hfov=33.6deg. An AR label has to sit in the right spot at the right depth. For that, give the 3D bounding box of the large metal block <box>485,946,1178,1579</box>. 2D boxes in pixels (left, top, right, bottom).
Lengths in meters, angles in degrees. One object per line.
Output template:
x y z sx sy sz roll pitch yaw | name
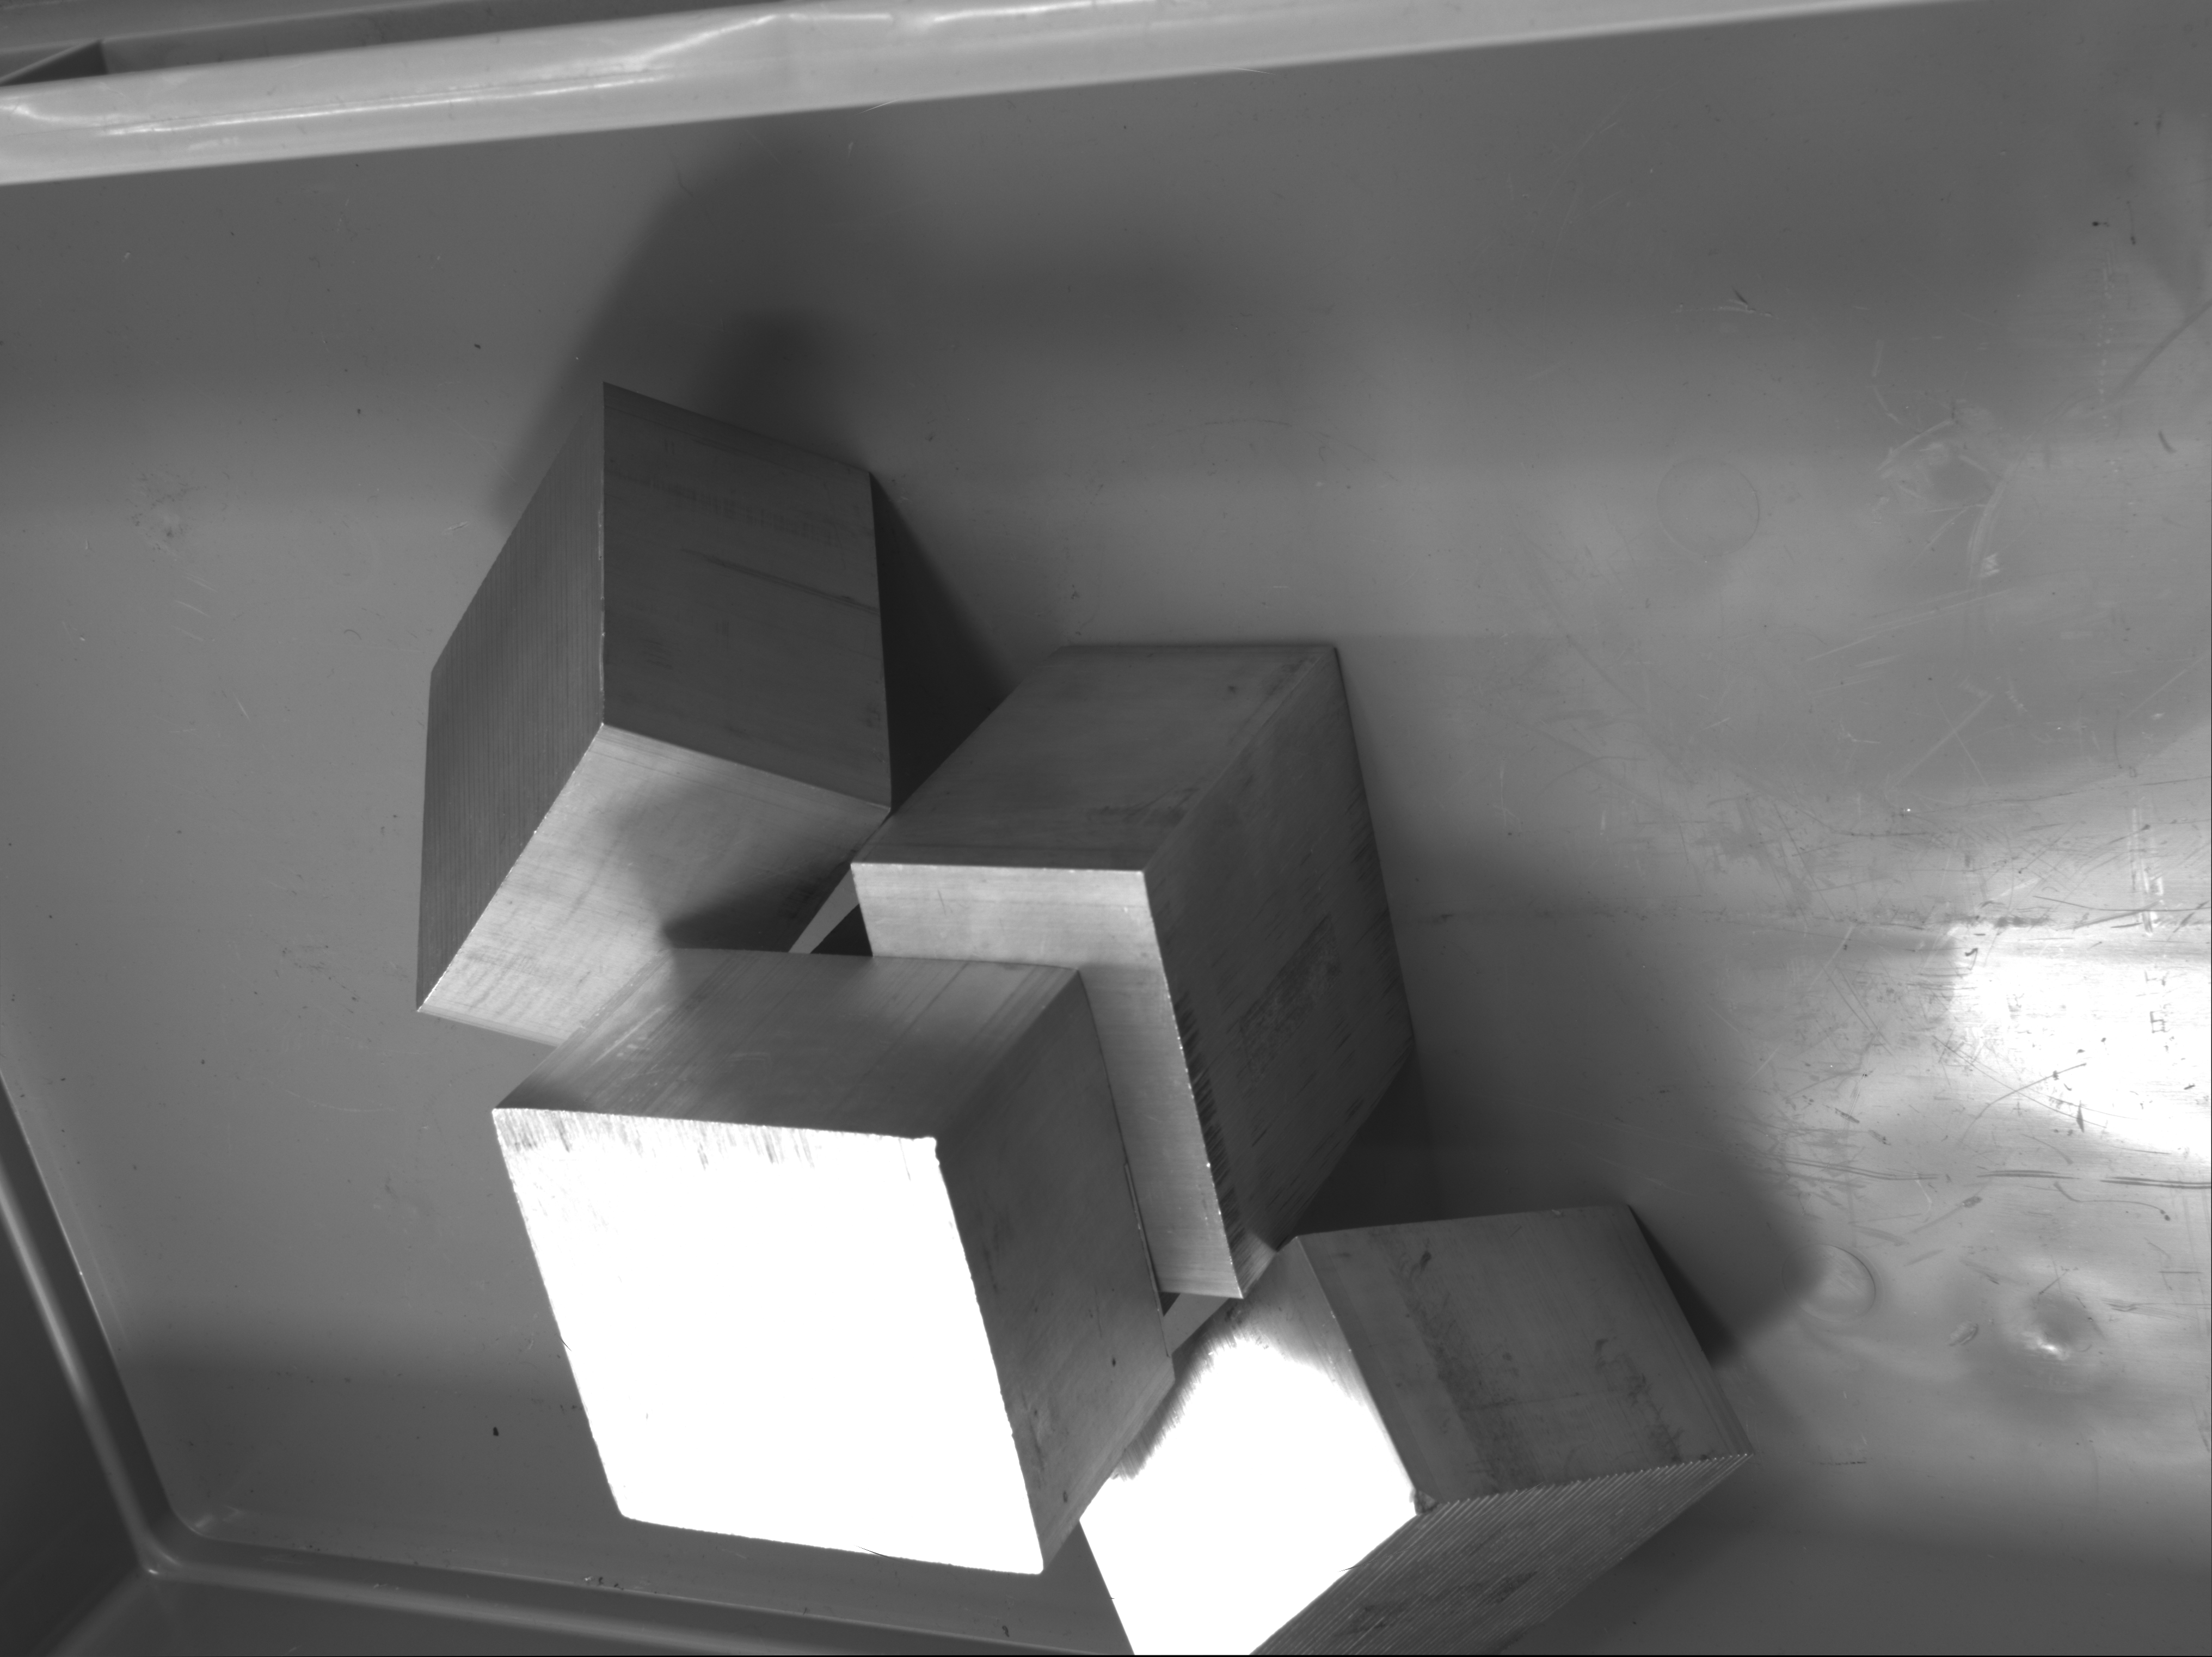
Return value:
-0.042 0.067 0.585 0.080 0.050 0.080 2 119 28 | large metal block

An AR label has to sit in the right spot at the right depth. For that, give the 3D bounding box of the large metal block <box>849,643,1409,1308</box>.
0.007 0.023 0.614 0.050 0.080 0.080 1 118 28 | large metal block

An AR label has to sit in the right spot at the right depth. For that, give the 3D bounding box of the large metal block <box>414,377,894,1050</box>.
-0.079 -0.015 0.629 0.050 0.080 0.080 17 134 -26 | large metal block

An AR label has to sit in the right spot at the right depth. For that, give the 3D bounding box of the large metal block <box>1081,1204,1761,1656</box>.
0.051 0.110 0.636 0.080 0.080 0.050 -49 55 39 | large metal block

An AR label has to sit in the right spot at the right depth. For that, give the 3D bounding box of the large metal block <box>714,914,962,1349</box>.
-0.028 0.065 0.661 0.050 0.080 0.080 1 118 28 | large metal block
